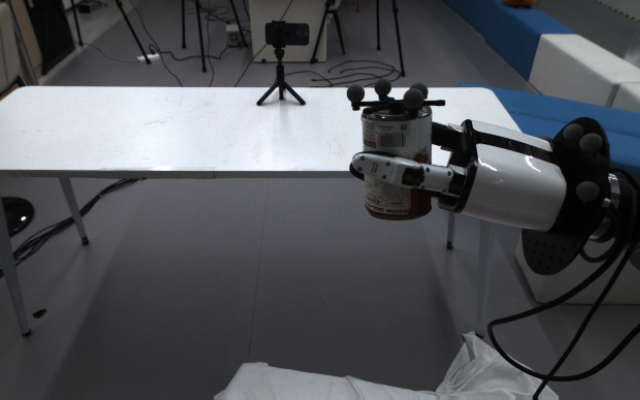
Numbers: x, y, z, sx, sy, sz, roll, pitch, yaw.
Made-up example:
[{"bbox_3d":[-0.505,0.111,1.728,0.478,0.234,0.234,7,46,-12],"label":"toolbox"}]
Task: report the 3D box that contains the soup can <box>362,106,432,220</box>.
[{"bbox_3d":[0.078,-0.040,0.479,0.067,0.101,0.067,-4,21,2],"label":"soup can"}]
